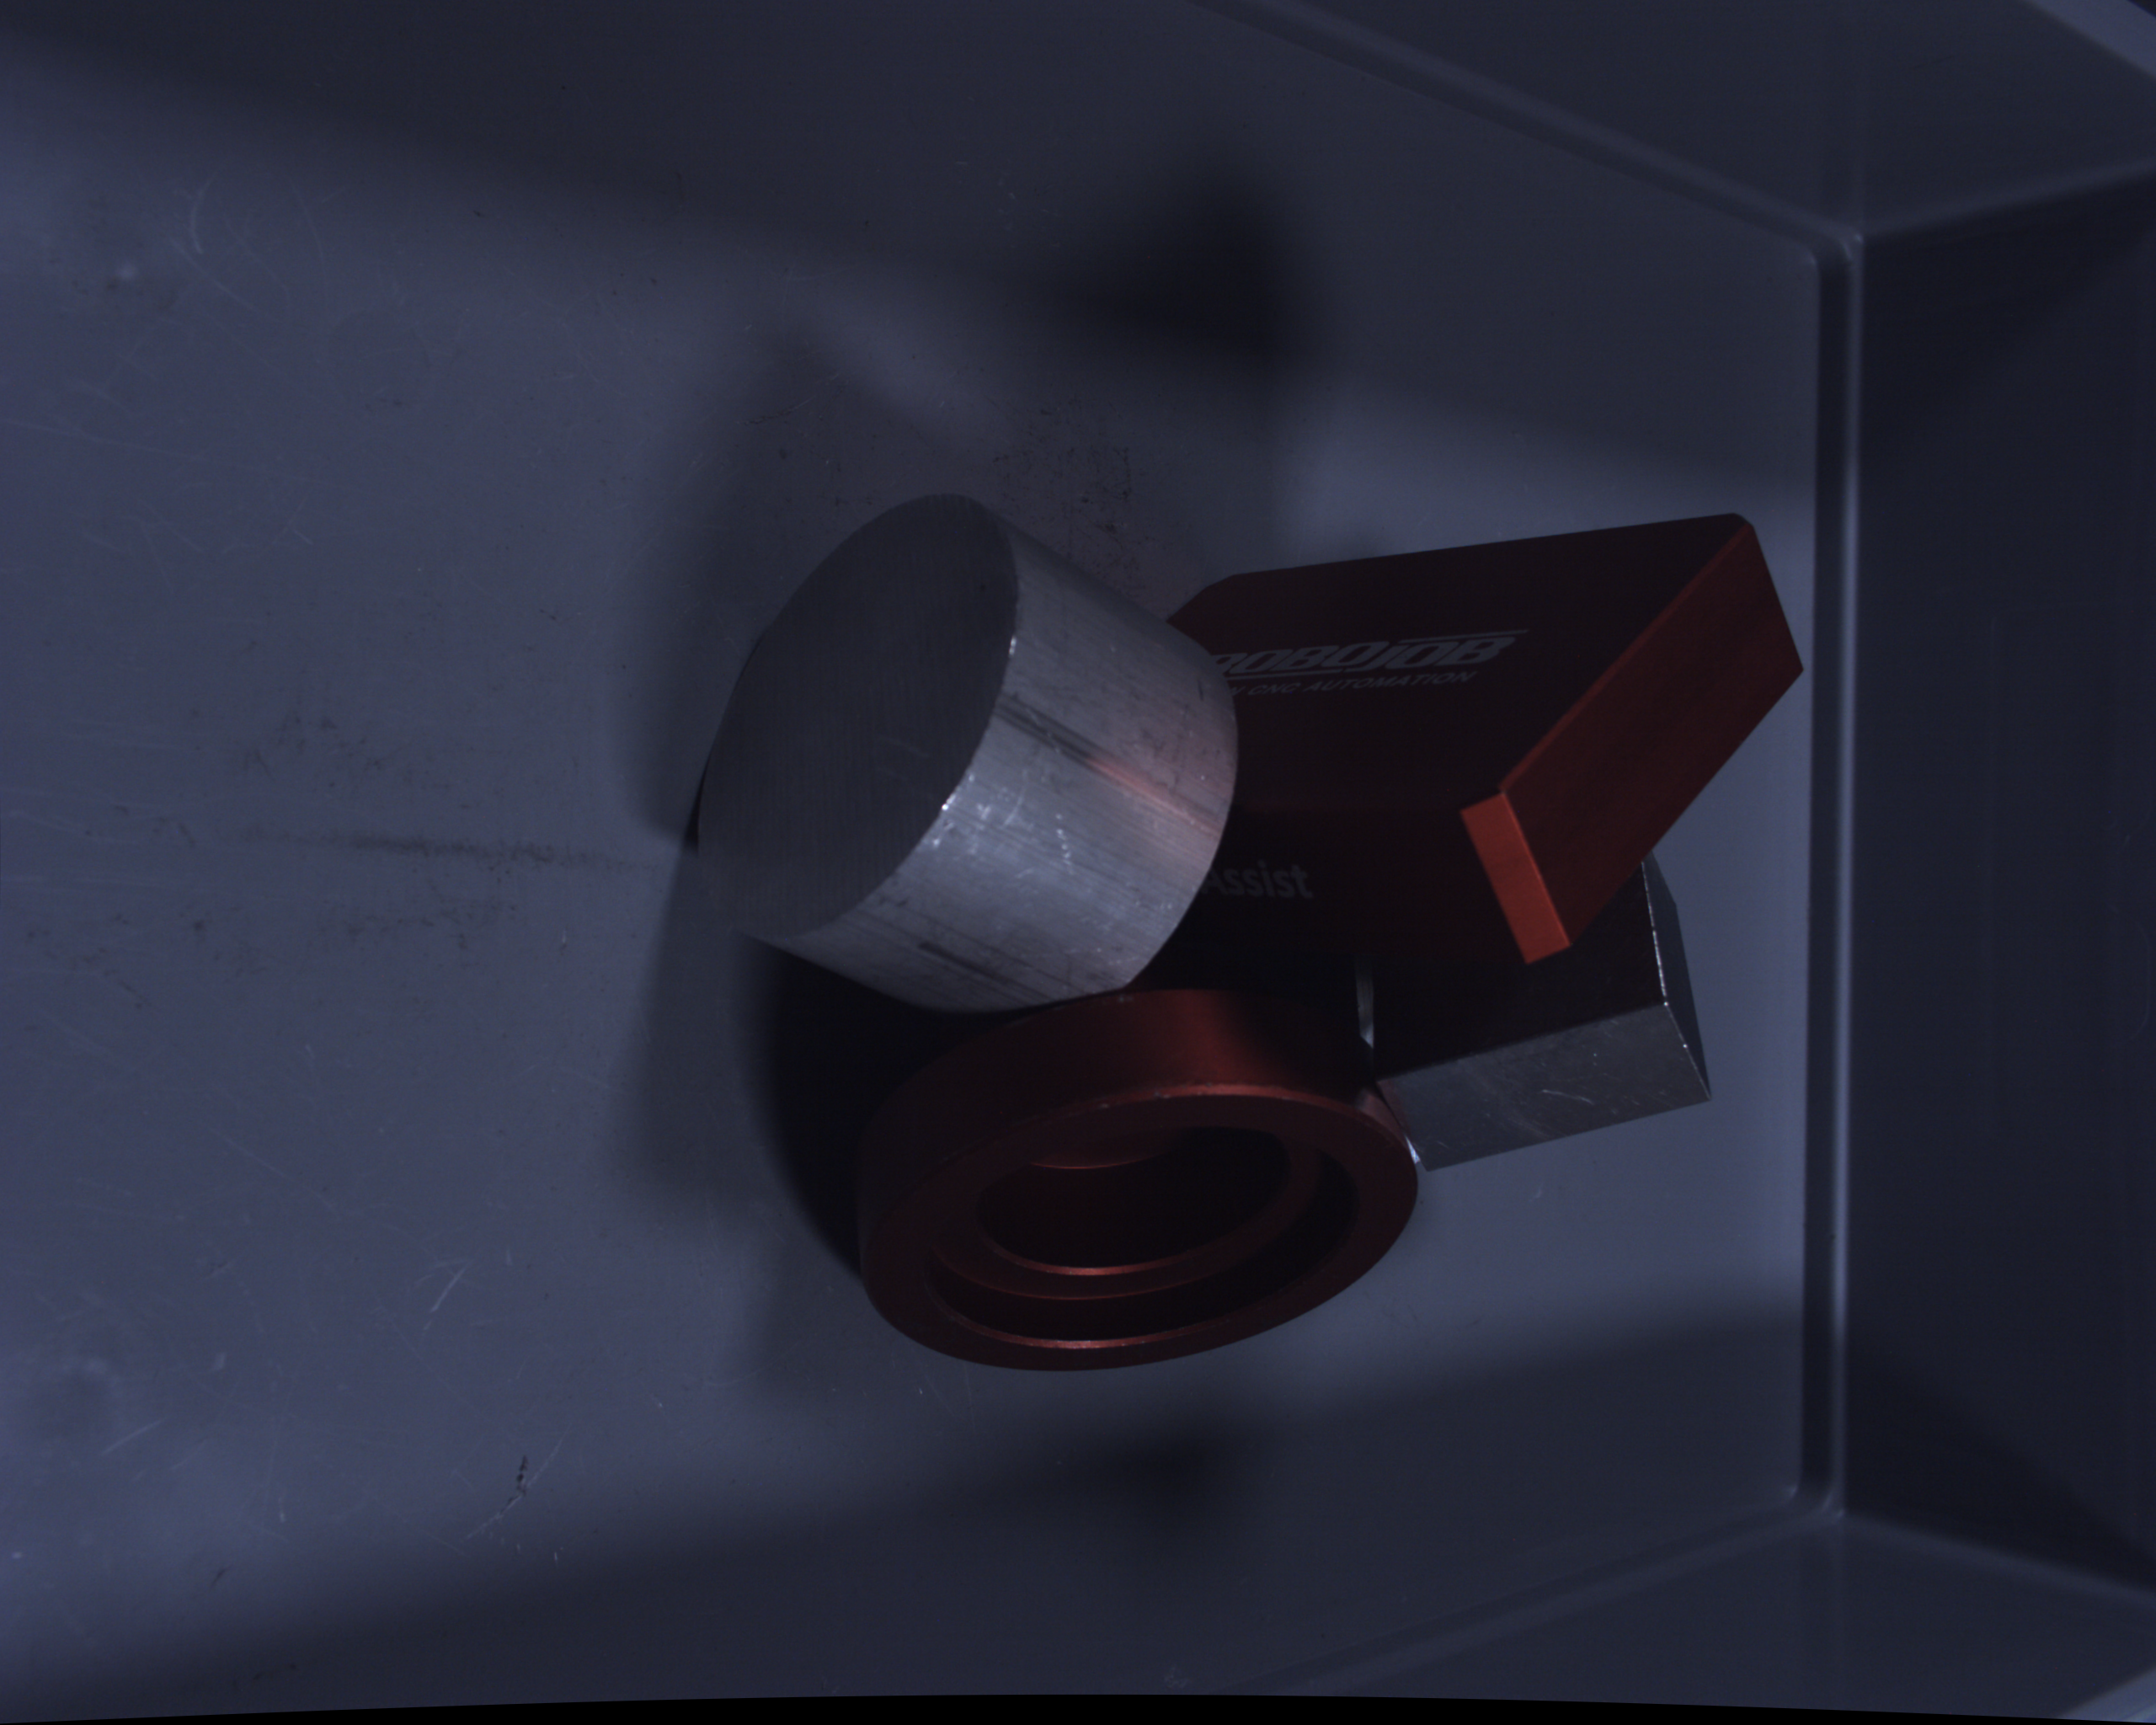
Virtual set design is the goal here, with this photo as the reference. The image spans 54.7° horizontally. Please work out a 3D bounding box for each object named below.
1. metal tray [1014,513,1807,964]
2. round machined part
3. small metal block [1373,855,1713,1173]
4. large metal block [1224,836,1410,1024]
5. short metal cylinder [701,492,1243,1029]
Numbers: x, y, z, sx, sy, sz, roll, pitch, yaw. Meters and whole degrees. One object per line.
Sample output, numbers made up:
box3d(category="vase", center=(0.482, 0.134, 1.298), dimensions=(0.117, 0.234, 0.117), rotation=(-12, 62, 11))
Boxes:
box3d(category="metal tray", center=(0.052, -0.023, 0.381), dimensions=(0.090, 0.130, 0.030), rotation=(-43, 117, -32))
box3d(category="round machined part", center=(0.009, 0.051, 0.379), dimensions=(0.098, 0.098, 0.042), rotation=(26, 38, -38))
box3d(category="small metal block", center=(0.080, 0.022, 0.369), dimensions=(0.025, 0.050, 0.050), rotation=(58, 25, -33))
box3d(category="large metal block", center=(0.065, 0.012, 0.435), dimensions=(0.081, 0.050, 0.079), rotation=(-18, 107, -39))
box3d(category="short metal cylinder", center=(-0.019, -0.015, 0.354), dimensions=(0.050, 0.080, 0.080), rotation=(29, 72, -37))
